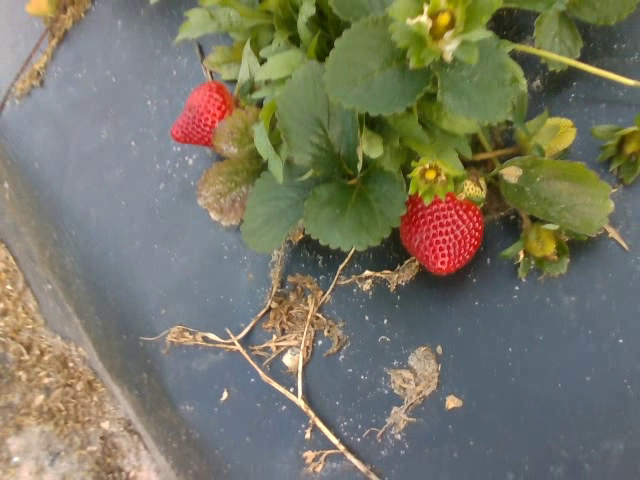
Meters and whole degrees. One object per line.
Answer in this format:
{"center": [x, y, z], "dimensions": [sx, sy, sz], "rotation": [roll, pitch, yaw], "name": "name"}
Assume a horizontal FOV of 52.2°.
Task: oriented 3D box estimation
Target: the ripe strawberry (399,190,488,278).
{"center": [0.057, -0.002, 0.320], "dimensions": [0.043, 0.046, 0.046], "rotation": [-29, -47, 34], "name": "ripe strawberry"}

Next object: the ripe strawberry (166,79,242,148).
{"center": [-0.068, -0.072, 0.397], "dimensions": [0.050, 0.043, 0.042], "rotation": [-34, -22, 5], "name": "ripe strawberry"}
